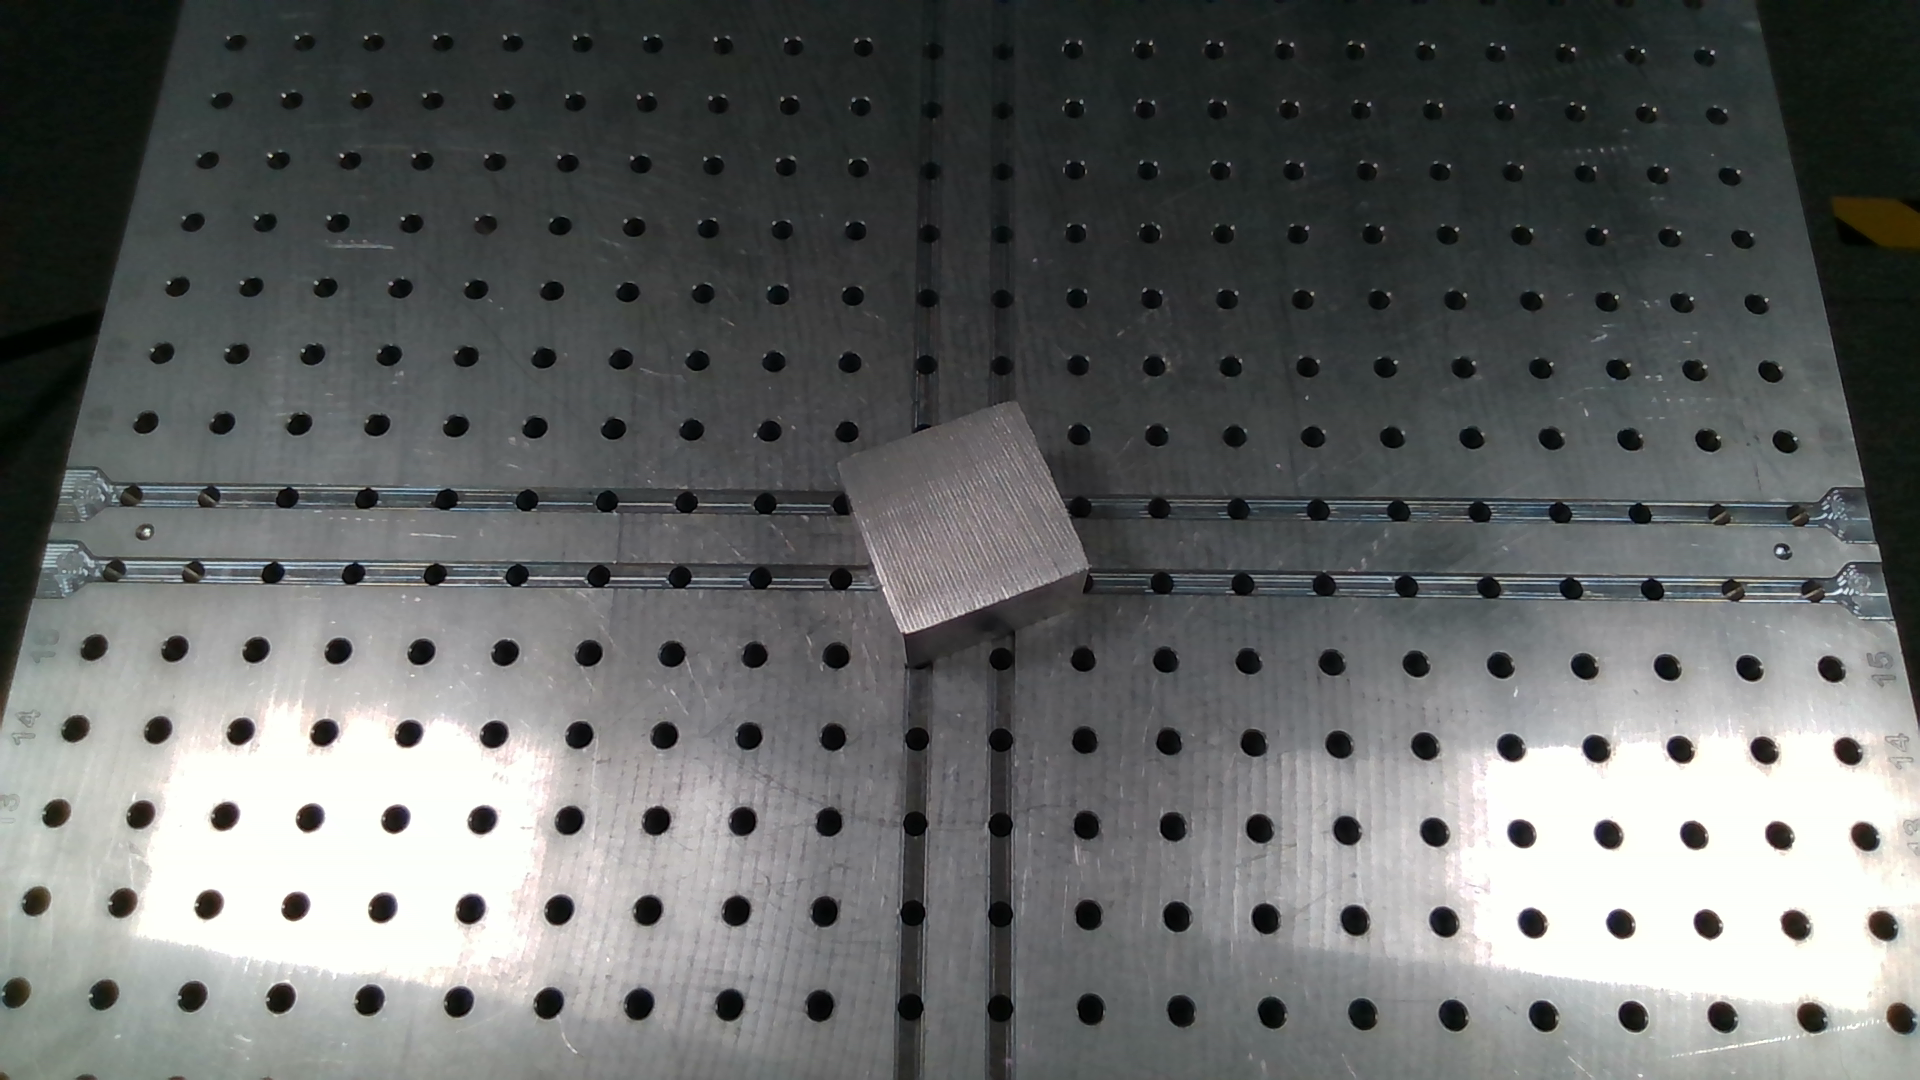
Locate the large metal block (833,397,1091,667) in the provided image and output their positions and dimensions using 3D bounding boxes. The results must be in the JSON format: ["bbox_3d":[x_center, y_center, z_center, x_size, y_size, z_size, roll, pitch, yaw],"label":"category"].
[{"bbox_3d":[0.000,-0.002,0.575,0.080,0.050,0.080,-20,71,-7],"label":"large metal block"}]
